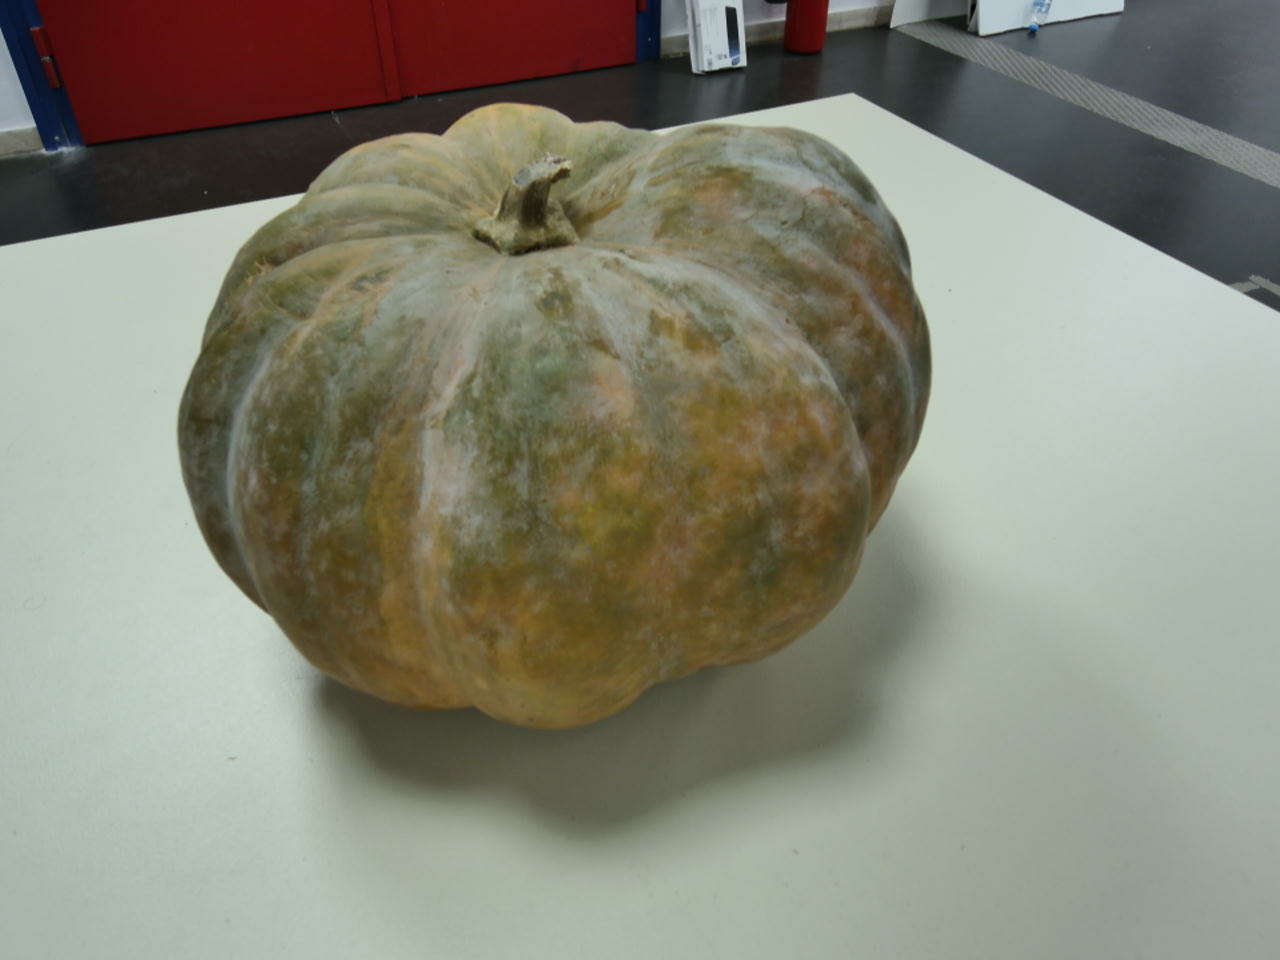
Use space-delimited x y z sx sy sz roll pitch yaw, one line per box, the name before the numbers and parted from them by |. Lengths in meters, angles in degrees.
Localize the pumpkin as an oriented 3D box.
pumpkin | -0.030 -0.031 0.348 0.252 0.169 0.251 0 38 0
